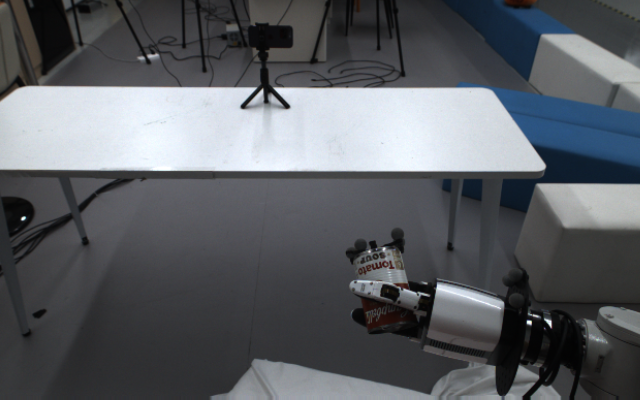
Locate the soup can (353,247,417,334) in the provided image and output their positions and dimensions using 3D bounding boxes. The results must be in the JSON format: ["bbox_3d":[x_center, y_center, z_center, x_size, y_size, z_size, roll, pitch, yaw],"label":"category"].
[{"bbox_3d":[0.088,0.120,0.645,0.067,0.067,0.101,-6,68,-12],"label":"soup can"}]
